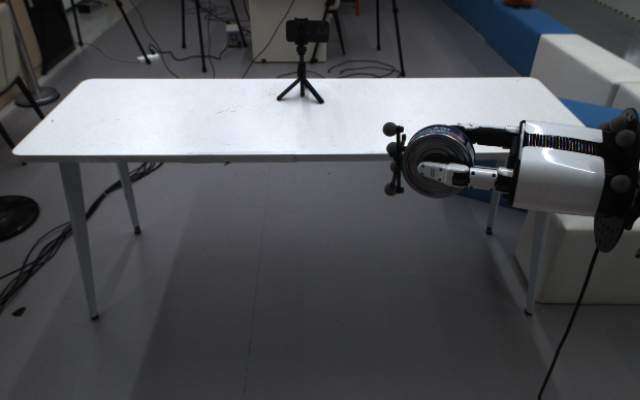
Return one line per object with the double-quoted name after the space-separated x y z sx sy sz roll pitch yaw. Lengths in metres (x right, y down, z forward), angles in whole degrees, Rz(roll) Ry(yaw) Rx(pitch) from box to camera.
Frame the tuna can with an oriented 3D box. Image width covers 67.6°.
0.145 -0.051 0.592 0.085 0.085 0.034 12 27 14 "tuna can"
